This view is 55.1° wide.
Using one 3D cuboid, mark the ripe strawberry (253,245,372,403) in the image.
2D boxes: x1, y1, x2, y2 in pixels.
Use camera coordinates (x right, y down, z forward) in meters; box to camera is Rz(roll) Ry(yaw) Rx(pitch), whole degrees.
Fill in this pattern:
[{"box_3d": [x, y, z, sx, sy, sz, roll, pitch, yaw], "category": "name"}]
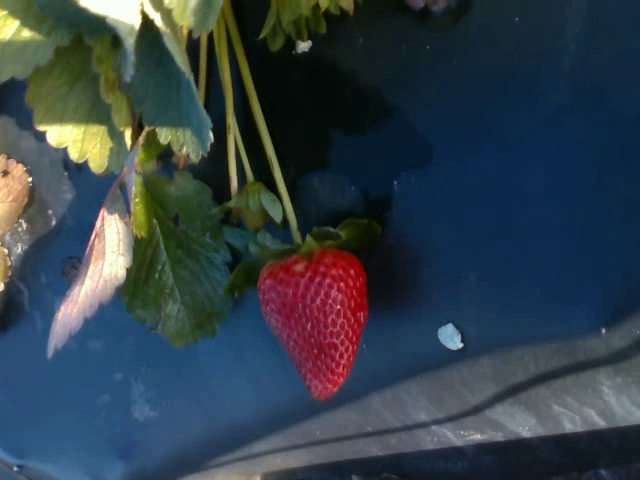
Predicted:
[{"box_3d": [0.000, 0.027, 0.200, 0.045, 0.055, 0.041, -16, -22, 20], "category": "ripe strawberry"}]
